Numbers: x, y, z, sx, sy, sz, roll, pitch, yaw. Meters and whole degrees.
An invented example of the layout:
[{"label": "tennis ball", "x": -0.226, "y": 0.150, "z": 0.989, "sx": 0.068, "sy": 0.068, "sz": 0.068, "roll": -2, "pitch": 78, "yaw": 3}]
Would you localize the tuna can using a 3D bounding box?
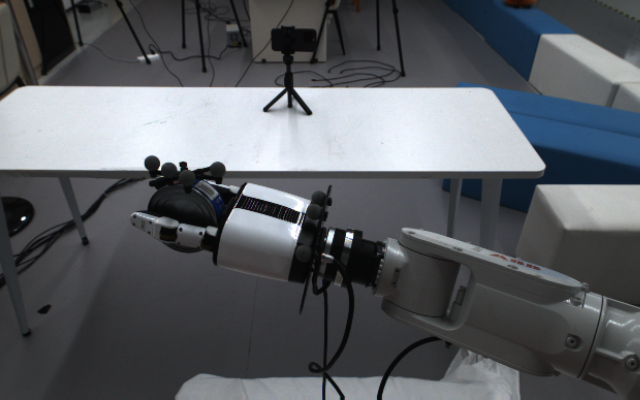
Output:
[{"label": "tuna can", "x": -0.153, "y": 0.017, "z": 0.567, "sx": 0.085, "sy": 0.085, "sz": 0.034, "roll": 9, "pitch": 22, "yaw": 9}]
